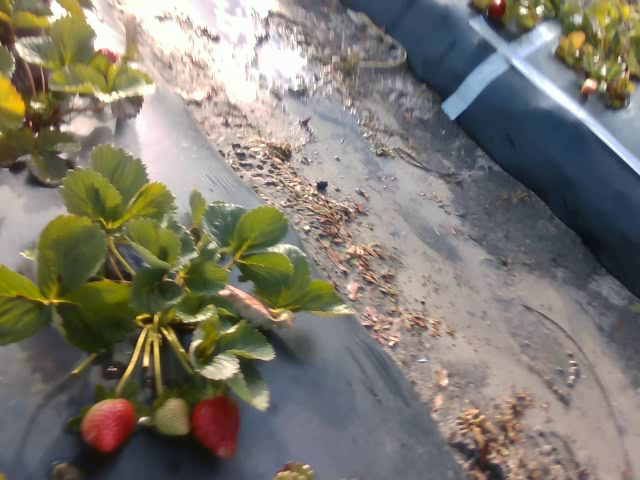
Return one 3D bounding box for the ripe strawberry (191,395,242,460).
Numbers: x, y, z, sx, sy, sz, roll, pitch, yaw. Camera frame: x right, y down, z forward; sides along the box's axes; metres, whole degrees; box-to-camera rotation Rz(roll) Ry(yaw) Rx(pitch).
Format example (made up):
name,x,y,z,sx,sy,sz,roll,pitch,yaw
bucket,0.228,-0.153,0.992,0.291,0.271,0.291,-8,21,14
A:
name,x,y,z,sx,sy,sz,roll,pitch,yaw
ripe strawberry,-0.091,0.173,0.556,0.049,0.065,0.050,-23,-27,0
